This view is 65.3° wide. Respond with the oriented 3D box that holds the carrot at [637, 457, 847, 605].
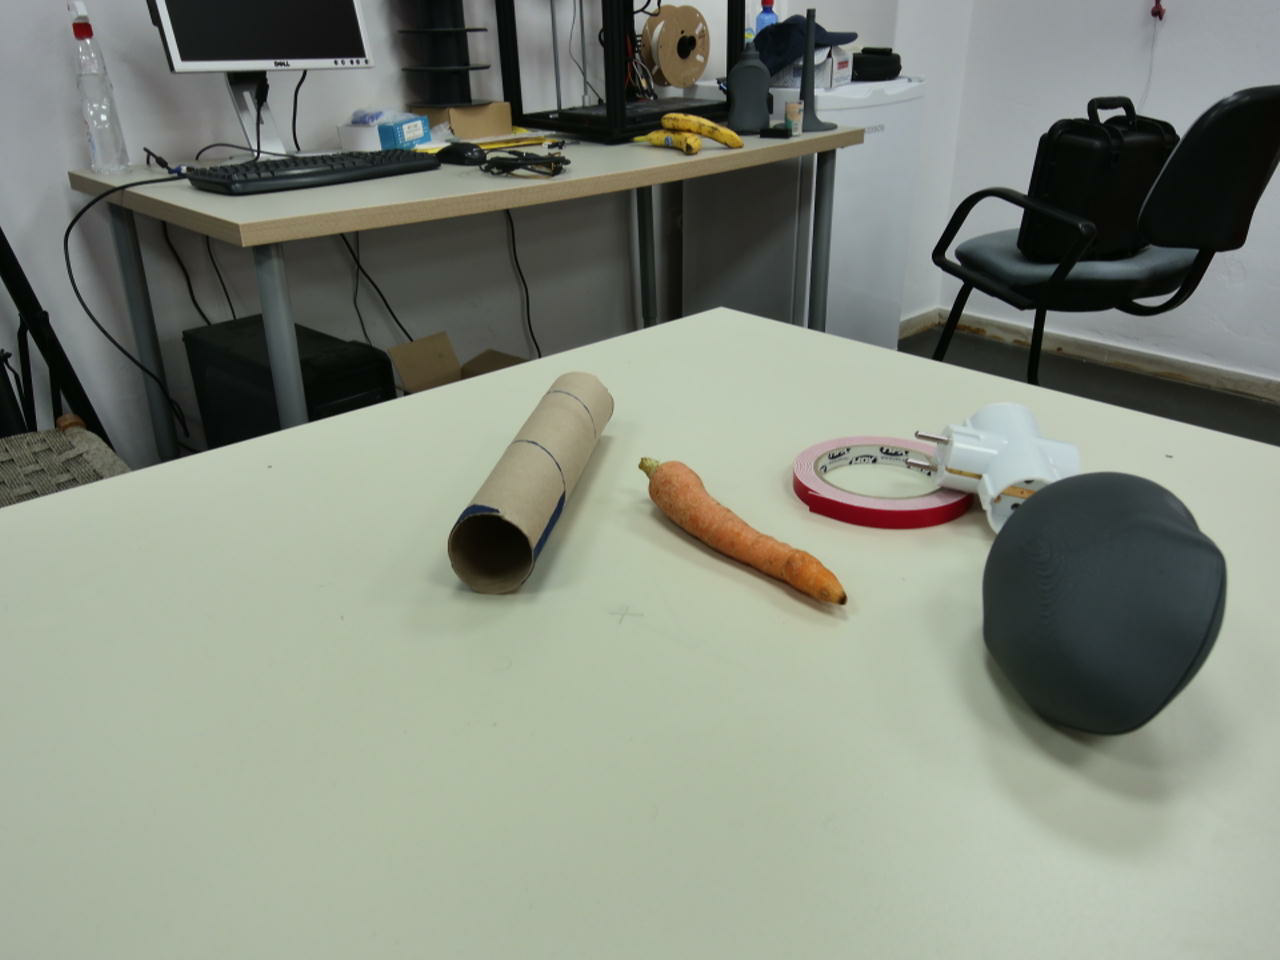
[{"bbox_3d":[0.051,0.025,0.550,0.030,0.032,0.173,-14,27,-29],"label":"carrot"}]
